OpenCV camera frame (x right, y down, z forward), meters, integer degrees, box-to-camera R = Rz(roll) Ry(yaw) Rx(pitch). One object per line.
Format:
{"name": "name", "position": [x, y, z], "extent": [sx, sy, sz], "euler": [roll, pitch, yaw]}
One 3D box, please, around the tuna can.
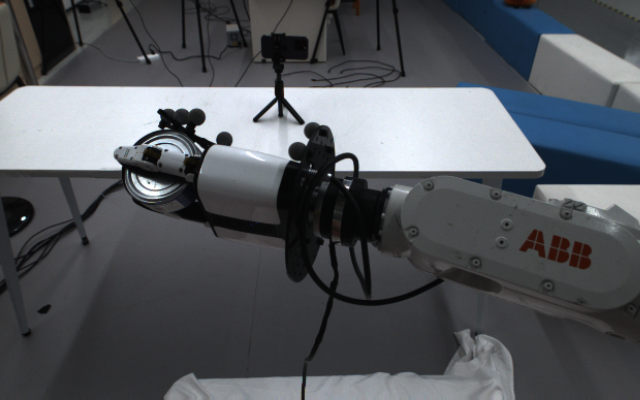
{"name": "tuna can", "position": [-0.163, -0.031, 0.521], "extent": [0.085, 0.034, 0.085], "euler": [-4, 67, 10]}
